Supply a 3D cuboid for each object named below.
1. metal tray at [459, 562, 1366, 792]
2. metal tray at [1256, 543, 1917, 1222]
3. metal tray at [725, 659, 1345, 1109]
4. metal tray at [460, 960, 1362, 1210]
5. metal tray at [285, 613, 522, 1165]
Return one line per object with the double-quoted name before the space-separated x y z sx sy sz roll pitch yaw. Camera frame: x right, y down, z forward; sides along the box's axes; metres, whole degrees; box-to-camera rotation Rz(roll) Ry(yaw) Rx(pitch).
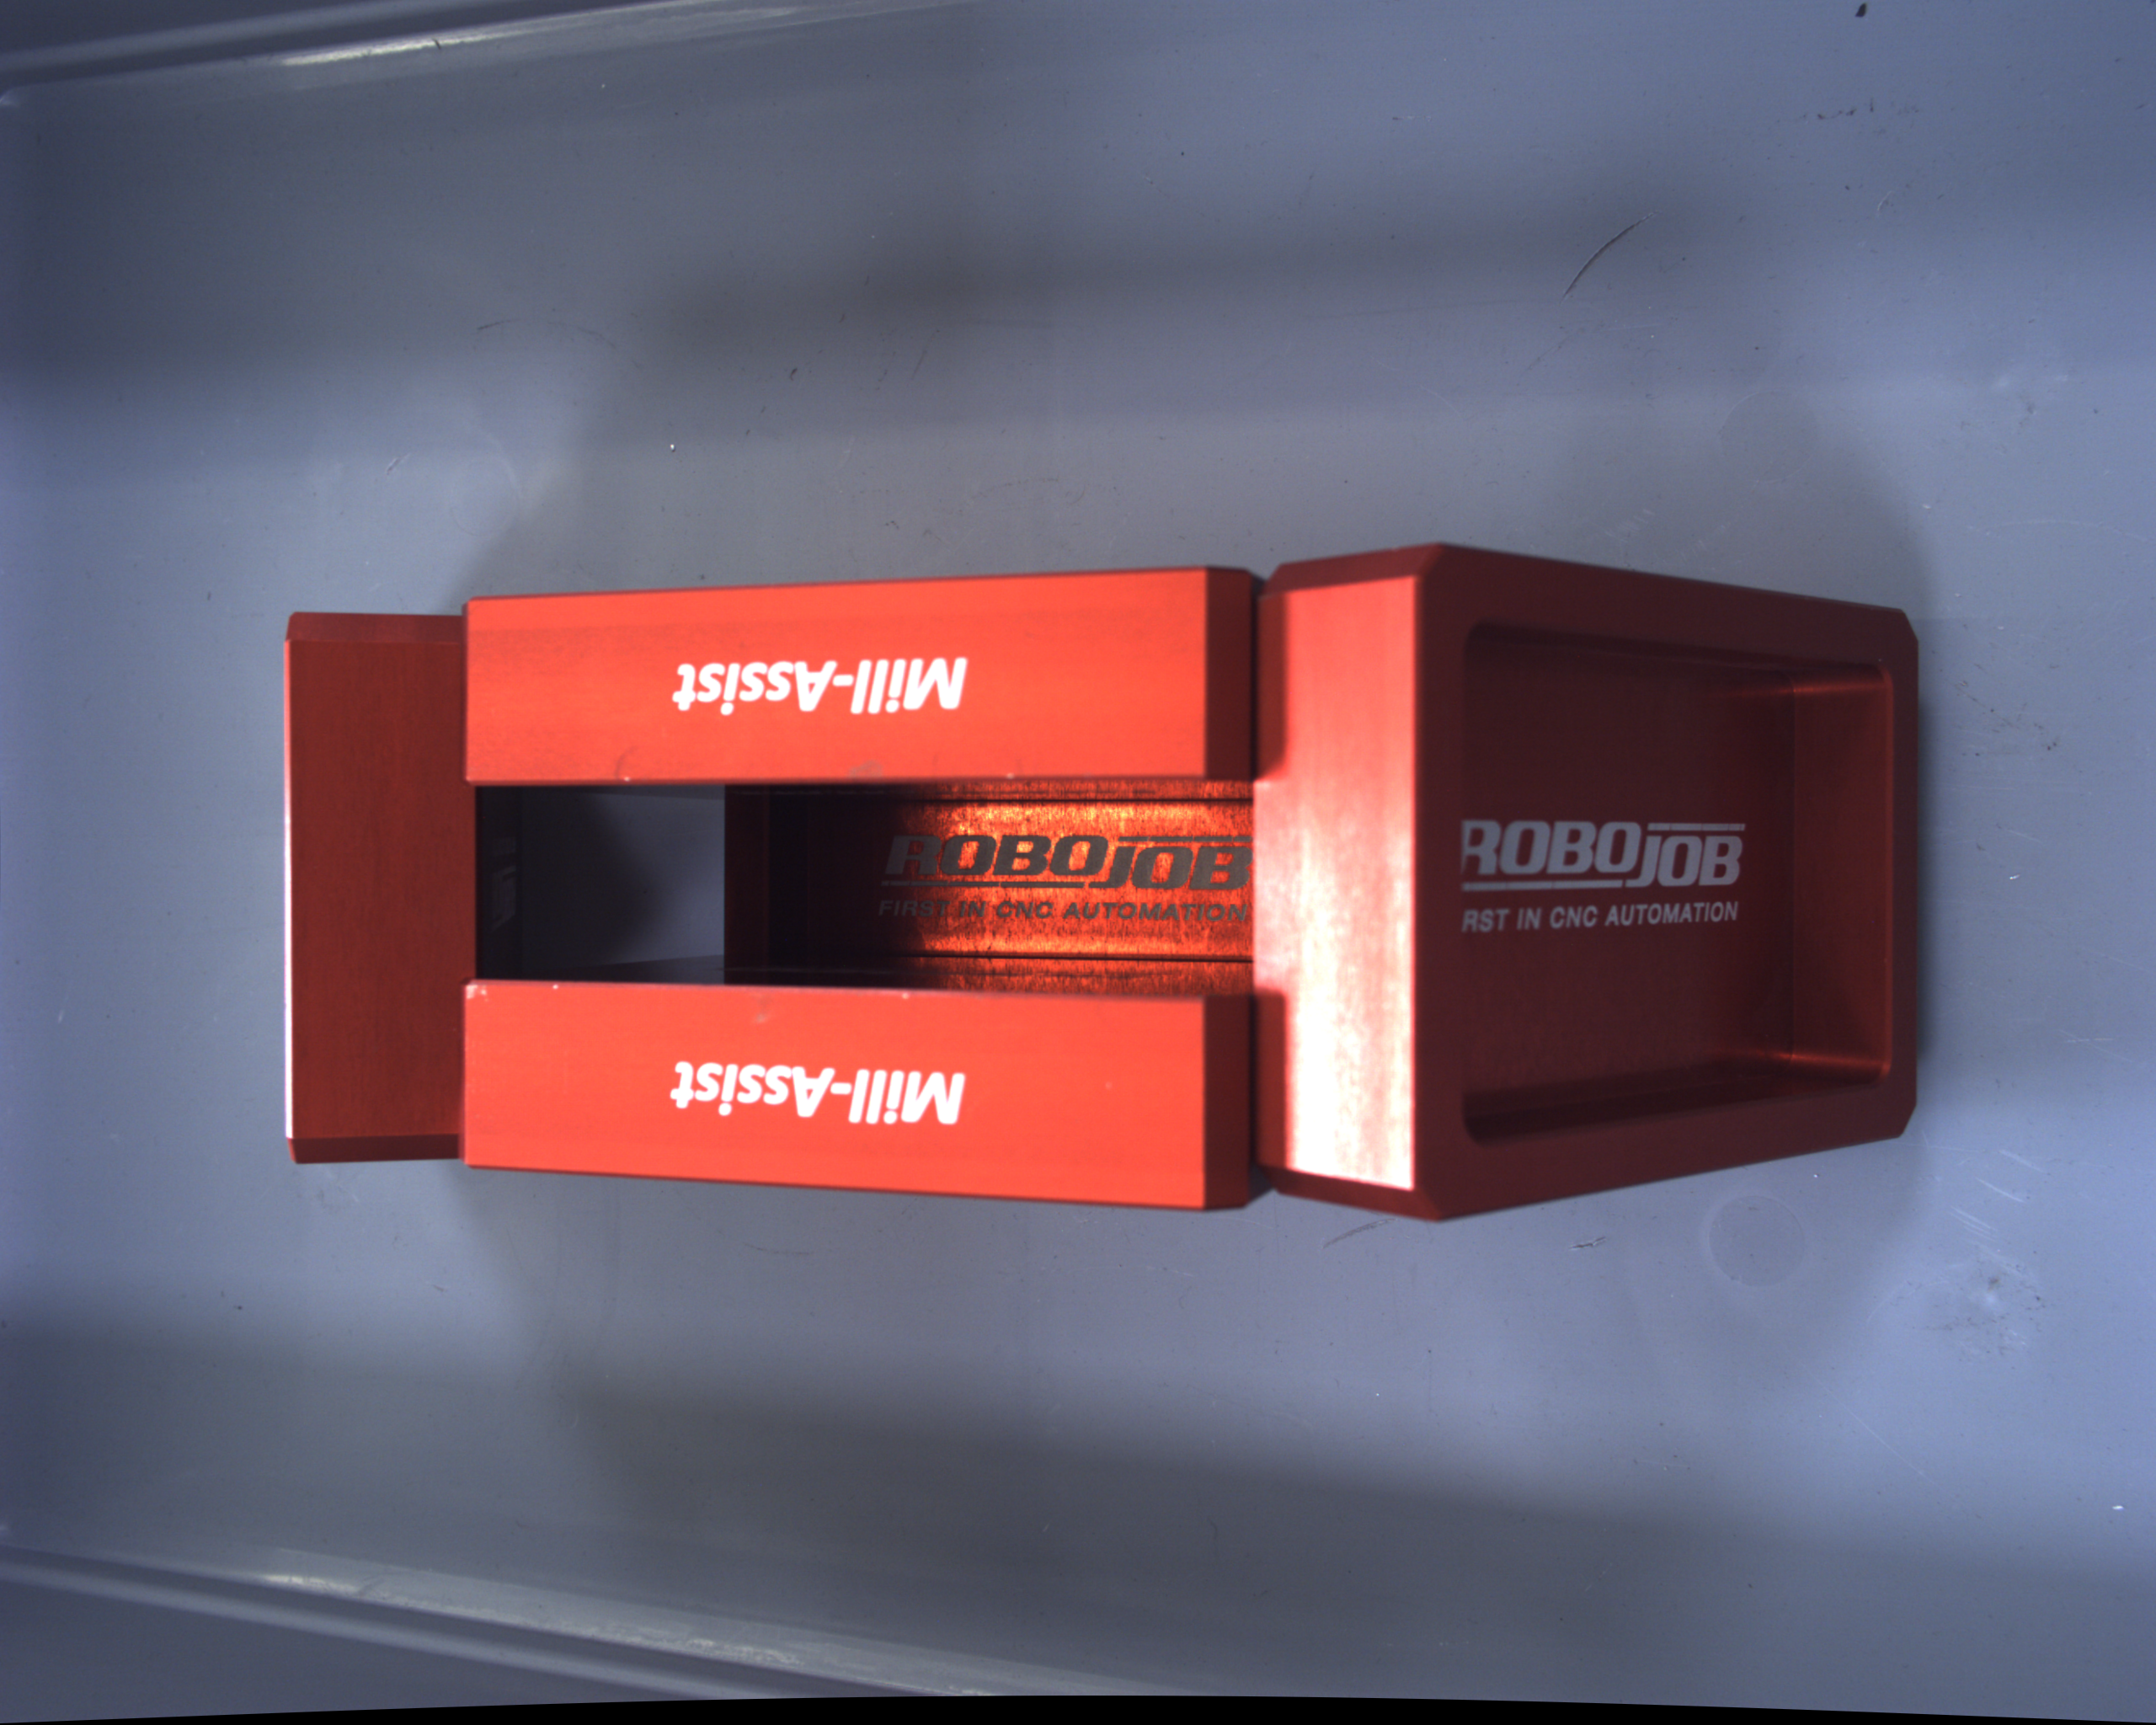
"metal tray" -0.024 -0.027 0.350 0.130 0.090 0.030 0 90 20
"metal tray" 0.084 0.002 0.325 0.030 0.131 0.089 1 91 49
"metal tray" -0.004 0.003 0.408 0.130 0.030 0.089 0 90 19
"metal tray" -0.024 0.033 0.351 0.130 0.090 0.030 0 90 19
"metal tray" -0.125 0.003 0.399 0.030 0.130 0.089 0 91 -12
